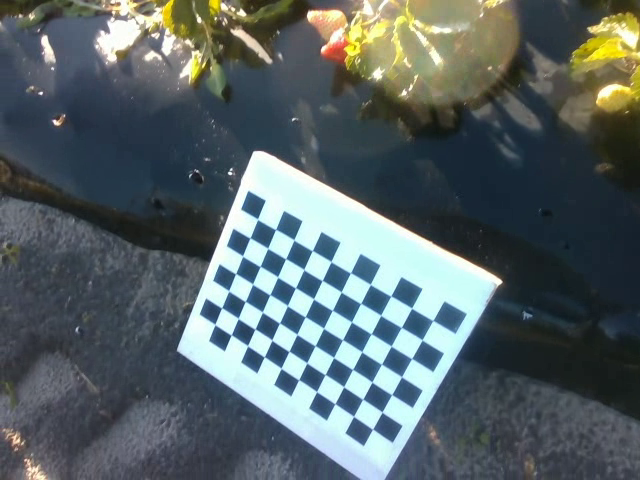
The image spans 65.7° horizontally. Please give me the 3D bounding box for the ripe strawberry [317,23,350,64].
[{"bbox_3d":[0.020,-0.188,0.464,0.055,0.038,0.040,-8,19,-41],"label":"ripe strawberry"}]
